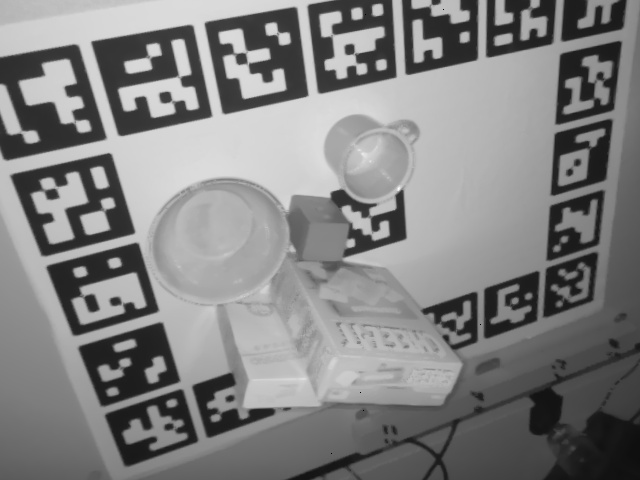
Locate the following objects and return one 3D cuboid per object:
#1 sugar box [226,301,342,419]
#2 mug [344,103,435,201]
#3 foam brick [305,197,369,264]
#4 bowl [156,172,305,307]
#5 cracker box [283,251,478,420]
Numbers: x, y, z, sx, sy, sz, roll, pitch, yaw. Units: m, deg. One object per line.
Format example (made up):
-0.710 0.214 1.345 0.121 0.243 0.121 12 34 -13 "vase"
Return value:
-0.044 0.133 0.803 0.094 0.176 0.045 6 114 -23 "sugar box"
0.088 -0.108 0.783 0.118 0.081 0.093 -23 130 -10 "mug"
0.018 -0.012 0.816 0.053 0.078 0.051 0 117 -21 "foam brick"
-0.101 -0.008 0.768 0.163 0.055 0.160 -9 118 -16 "bowl"
0.065 0.103 0.809 0.166 0.213 0.071 14 113 -25 "cracker box"
